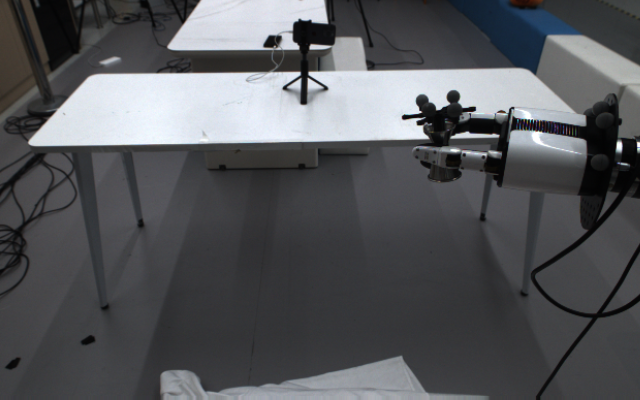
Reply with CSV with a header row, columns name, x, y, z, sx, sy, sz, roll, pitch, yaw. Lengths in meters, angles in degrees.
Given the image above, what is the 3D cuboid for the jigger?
name,x,y,z,sx,sy,sz,roll,pitch,yaw
jigger,0.158,-0.064,0.629,0.043,0.071,0.043,-11,23,5
